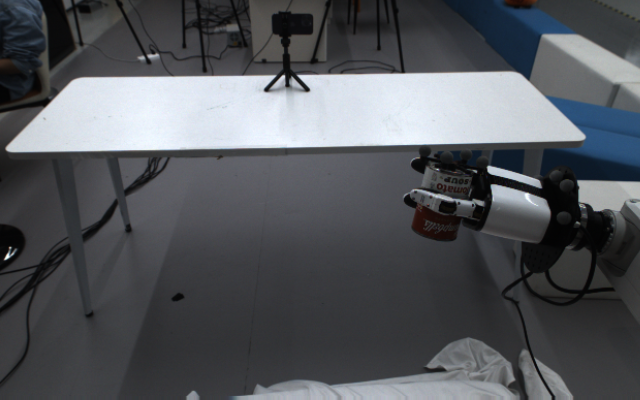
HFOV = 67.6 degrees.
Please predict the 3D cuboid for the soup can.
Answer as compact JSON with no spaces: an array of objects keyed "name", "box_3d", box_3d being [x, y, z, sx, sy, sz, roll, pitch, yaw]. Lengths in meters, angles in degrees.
[{"name":"soup can","box_3d":[0.177,0.000,0.700,0.067,0.101,0.067,9,19,-3]}]
